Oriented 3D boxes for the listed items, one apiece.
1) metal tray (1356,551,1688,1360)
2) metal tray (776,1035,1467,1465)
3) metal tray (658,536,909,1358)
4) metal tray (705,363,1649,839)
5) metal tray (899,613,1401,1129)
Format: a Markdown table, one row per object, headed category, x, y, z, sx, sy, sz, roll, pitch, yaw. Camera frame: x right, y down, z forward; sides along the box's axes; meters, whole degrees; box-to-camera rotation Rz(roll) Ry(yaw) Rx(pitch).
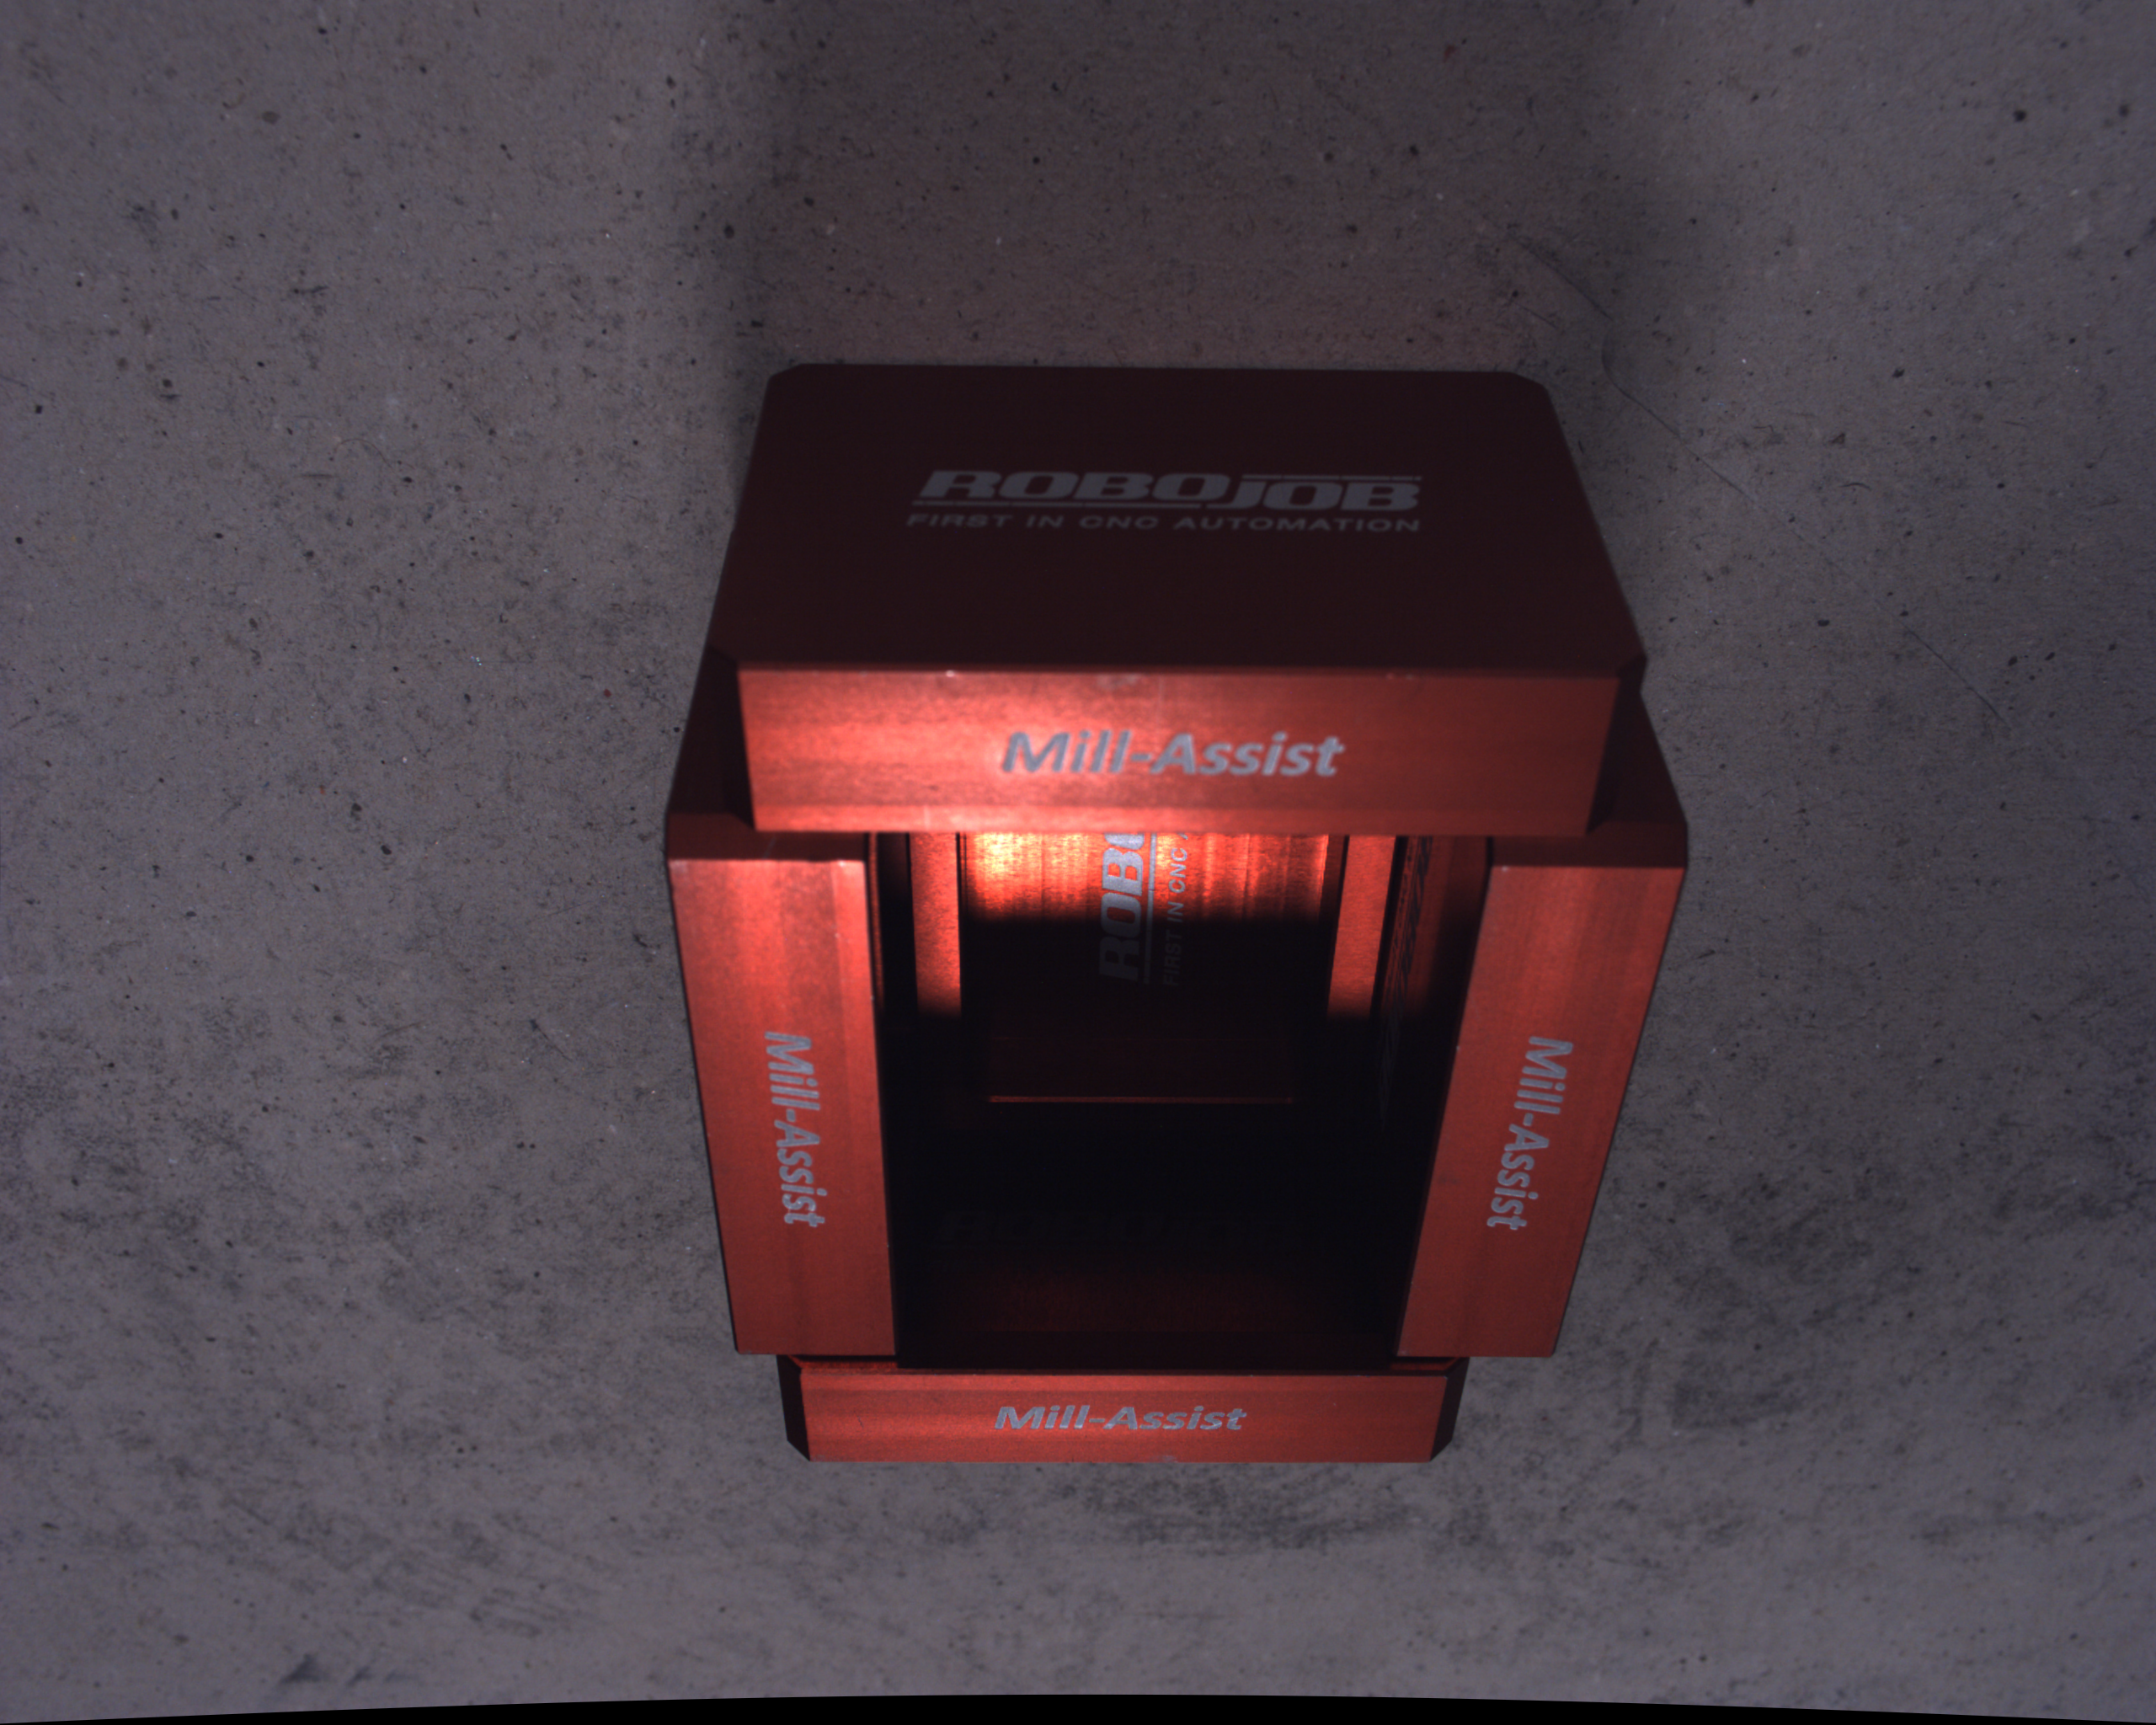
| category | x | y | z | sx | sy | sz | roll | pitch | yaw |
| --- | --- | --- | --- | --- | --- | --- | --- | --- | --- |
| metal tray | 0.074 | 0.018 | 0.381 | 0.030 | 0.090 | 0.129 | 1 | 130 | -1 |
| metal tray | 0.008 | 0.078 | 0.432 | 0.131 | 0.090 | 0.030 | 1 | 130 | -1 |
| metal tray | -0.048 | 0.016 | 0.379 | 0.030 | 0.090 | 0.129 | 1 | 130 | -1 |
| metal tray | 0.014 | -0.044 | 0.328 | 0.131 | 0.090 | 0.030 | 1 | 130 | -1 |
| metal tray | 0.012 | -0.003 | 0.403 | 0.091 | 0.030 | 0.129 | 0 | 130 | -1 |
